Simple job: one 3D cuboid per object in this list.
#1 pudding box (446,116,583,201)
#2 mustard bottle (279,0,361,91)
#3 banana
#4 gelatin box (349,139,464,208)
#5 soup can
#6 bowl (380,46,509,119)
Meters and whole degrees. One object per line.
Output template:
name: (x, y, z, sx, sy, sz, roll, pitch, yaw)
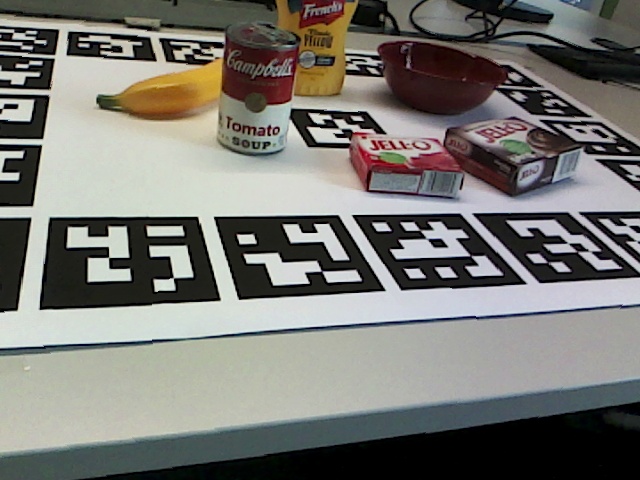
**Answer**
pudding box: (0.199, -0.086, 0.636, 0.113, 0.038, 0.090, -19, 48, -38)
mustard bottle: (-0.001, -0.269, 0.699, 0.096, 0.191, 0.059, -1, 32, -19)
banana: (-0.142, -0.169, 0.665, 0.074, 0.039, 0.197, 12, 31, 22)
gelatin box: (0.078, -0.063, 0.572, 0.089, 0.030, 0.073, 2, 37, -13)
soup can: (-0.063, -0.141, 0.569, 0.068, 0.102, 0.068, 9, 30, -6)
bowl: (0.151, -0.196, 0.784, 0.161, 0.055, 0.162, 6, 32, -4)
